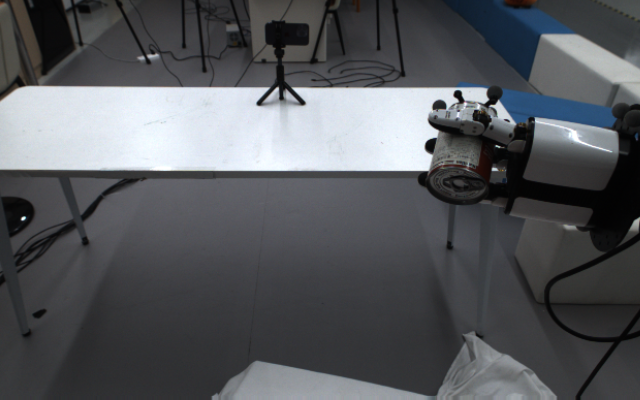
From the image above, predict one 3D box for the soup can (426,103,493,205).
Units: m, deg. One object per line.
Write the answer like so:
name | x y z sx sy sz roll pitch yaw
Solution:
soup can | 0.165 -0.058 0.556 0.067 0.067 0.101 12 59 14
